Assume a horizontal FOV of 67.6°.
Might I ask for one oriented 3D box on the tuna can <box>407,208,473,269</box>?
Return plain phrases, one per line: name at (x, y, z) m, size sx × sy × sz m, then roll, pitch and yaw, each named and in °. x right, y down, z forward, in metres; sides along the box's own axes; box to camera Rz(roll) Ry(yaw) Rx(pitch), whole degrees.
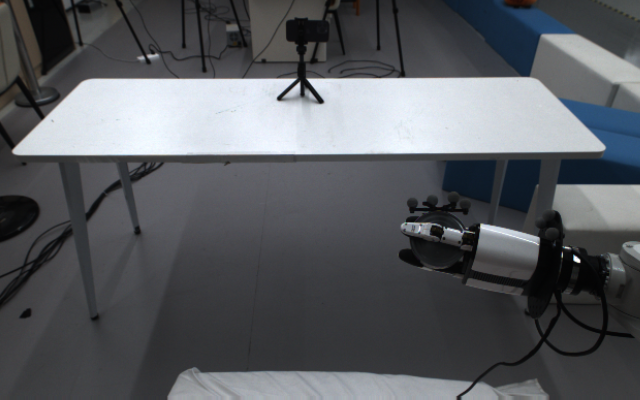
tuna can at (0.180, 0.056, 0.733) m, size 0.085 × 0.034 × 0.085 m, roll -4°, pitch 70°, yaw 11°
